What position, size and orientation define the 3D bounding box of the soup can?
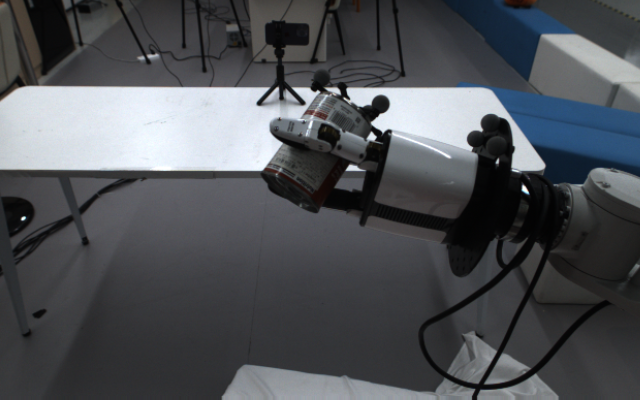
[{"bbox_3d":[-0.002,-0.049,0.482,0.067,0.067,0.101,27,76,31],"label":"soup can"}]
